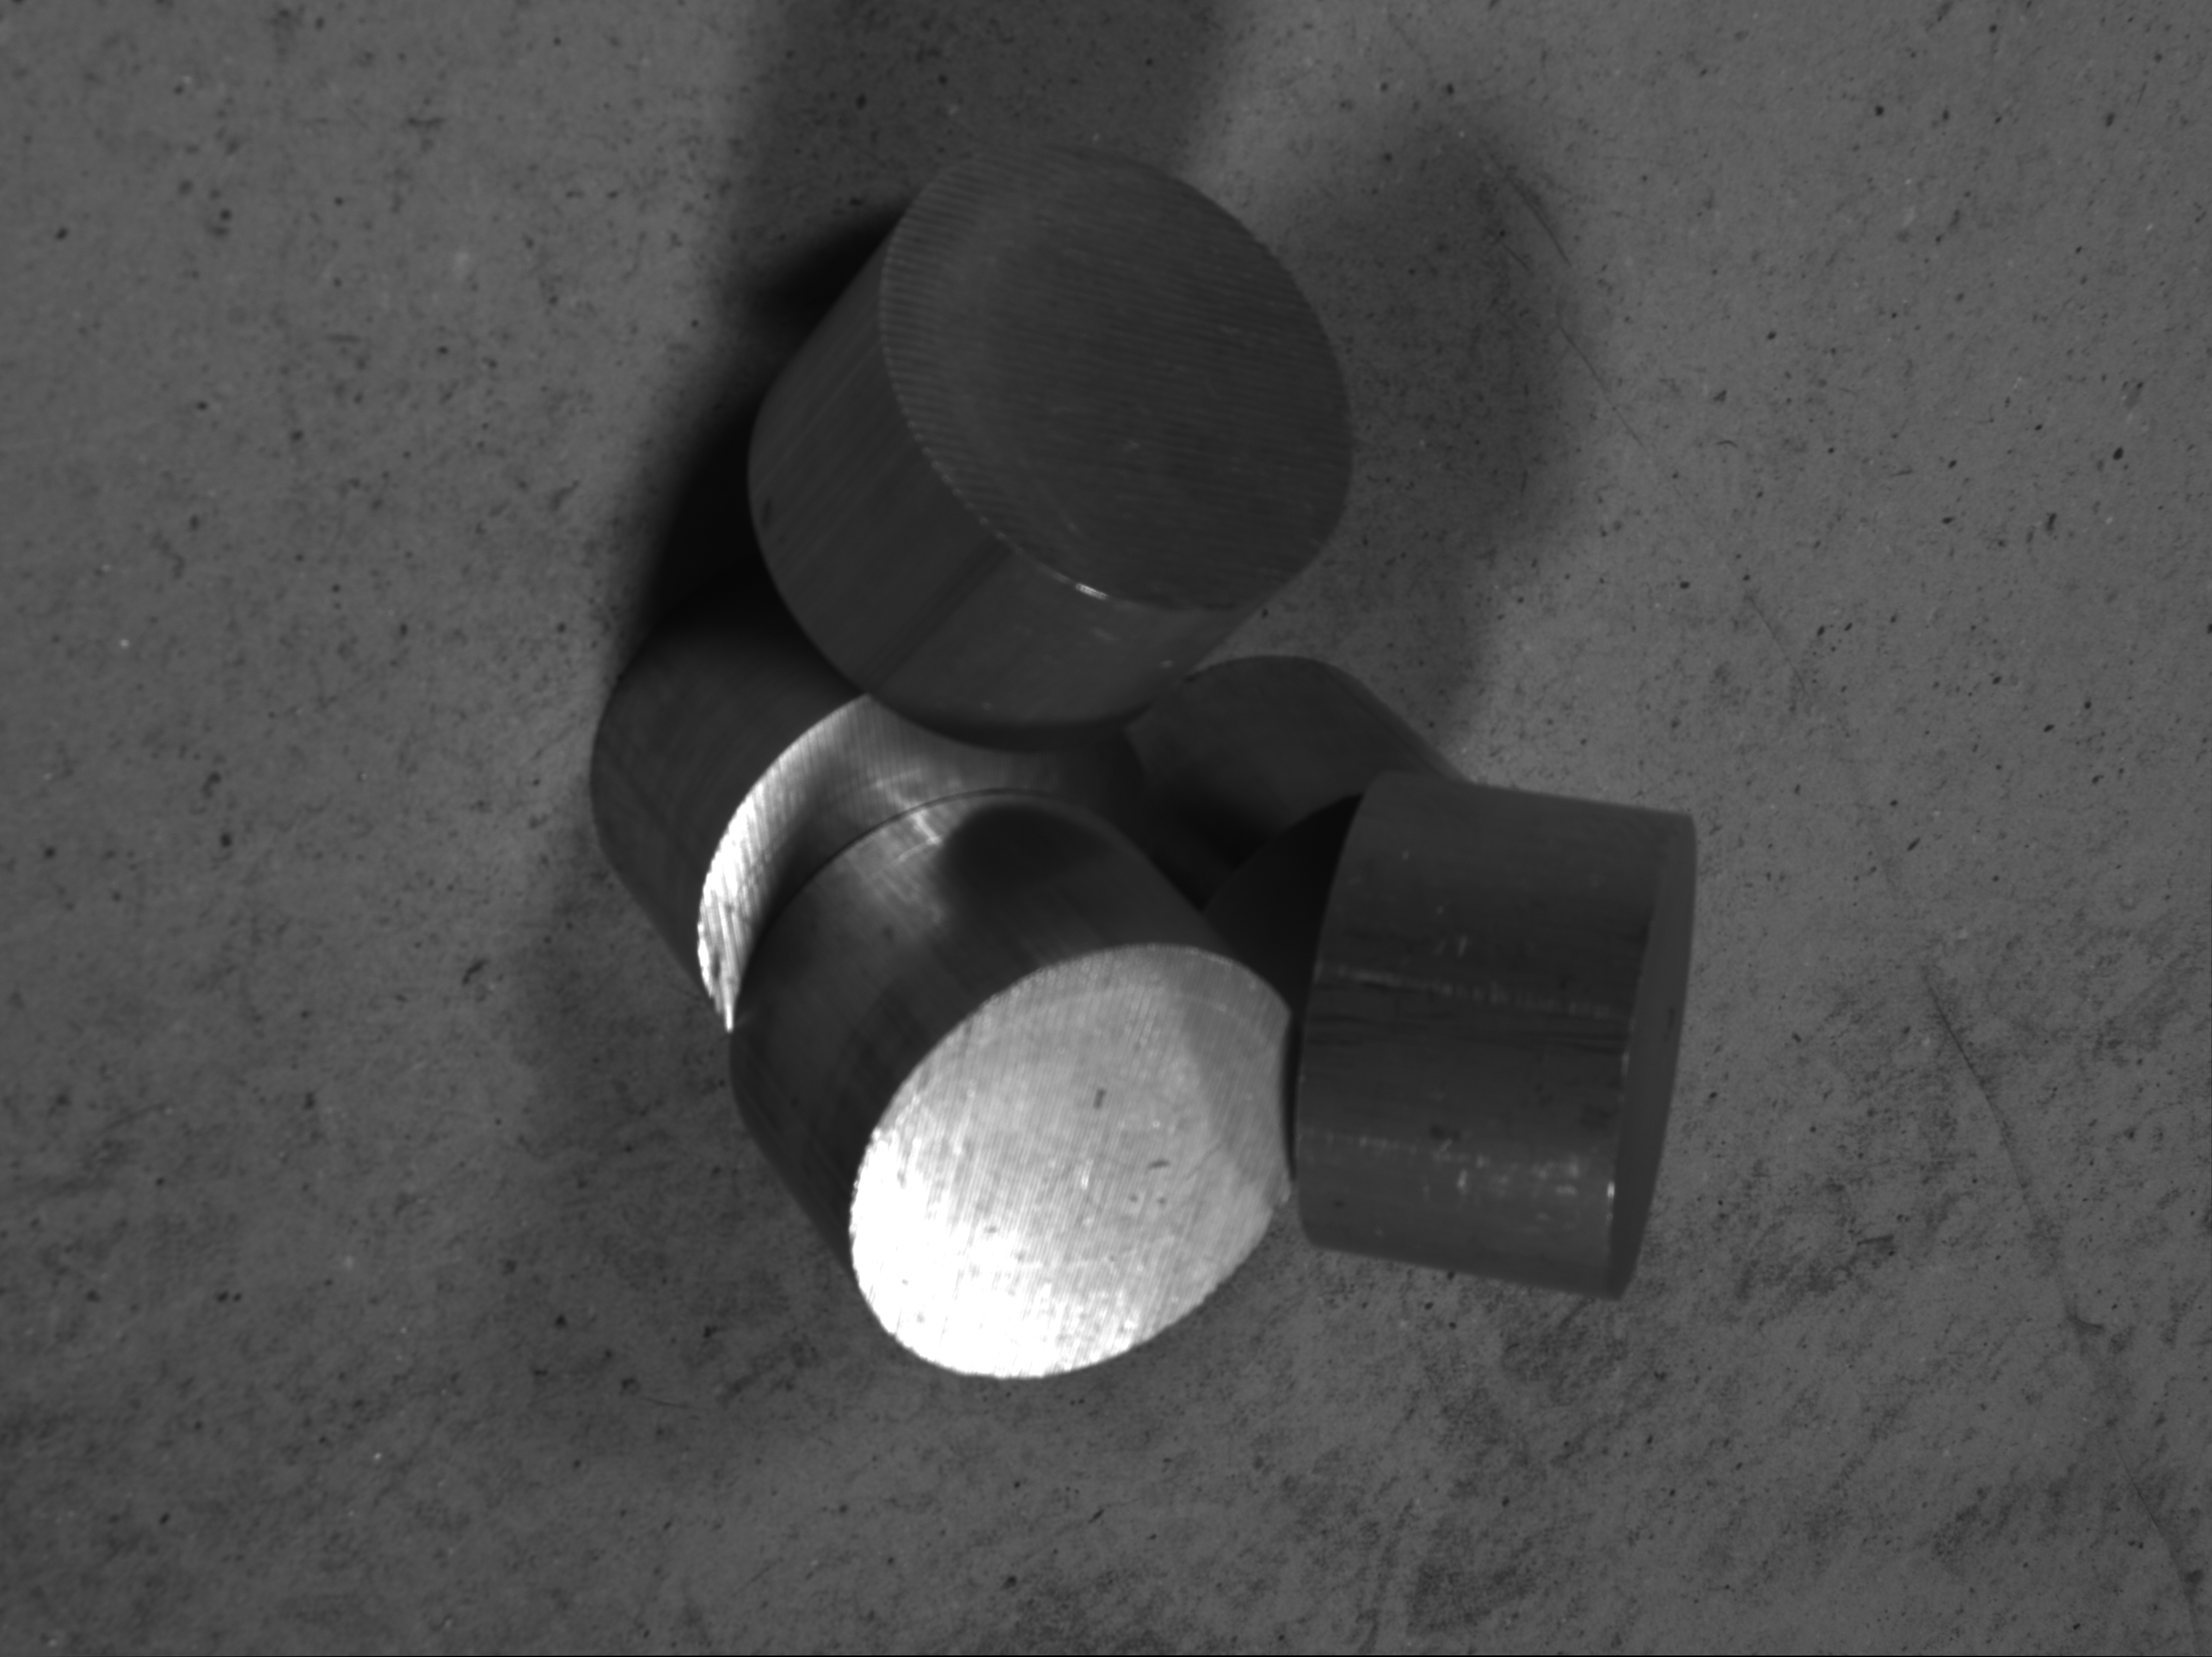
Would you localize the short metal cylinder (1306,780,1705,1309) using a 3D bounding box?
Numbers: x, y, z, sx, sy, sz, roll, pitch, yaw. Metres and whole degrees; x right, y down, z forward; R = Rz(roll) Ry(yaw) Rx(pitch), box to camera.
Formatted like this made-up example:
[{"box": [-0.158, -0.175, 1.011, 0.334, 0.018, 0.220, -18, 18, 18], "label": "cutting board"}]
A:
[{"box": [0.067, 0.035, 0.601, 0.050, 0.080, 0.080, 8, 124, 15], "label": "short metal cylinder"}]

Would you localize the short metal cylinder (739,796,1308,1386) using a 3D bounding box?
[{"box": [-0.012, 0.042, 0.587, 0.080, 0.050, 0.080, -15, 125, -22], "label": "short metal cylinder"}]

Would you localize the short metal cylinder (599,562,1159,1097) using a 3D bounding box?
[{"box": [-0.038, -0.001, 0.611, 0.080, 0.050, 0.080, -15, 125, -22], "label": "short metal cylinder"}]

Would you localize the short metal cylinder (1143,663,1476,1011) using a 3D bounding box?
[{"box": [0.035, 0.017, 0.665, 0.080, 0.050, 0.080, -15, 125, -22], "label": "short metal cylinder"}]

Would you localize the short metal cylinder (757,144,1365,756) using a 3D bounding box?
[{"box": [-0.007, -0.058, 0.567, 0.080, 0.080, 0.050, 0, 157, -30], "label": "short metal cylinder"}]
